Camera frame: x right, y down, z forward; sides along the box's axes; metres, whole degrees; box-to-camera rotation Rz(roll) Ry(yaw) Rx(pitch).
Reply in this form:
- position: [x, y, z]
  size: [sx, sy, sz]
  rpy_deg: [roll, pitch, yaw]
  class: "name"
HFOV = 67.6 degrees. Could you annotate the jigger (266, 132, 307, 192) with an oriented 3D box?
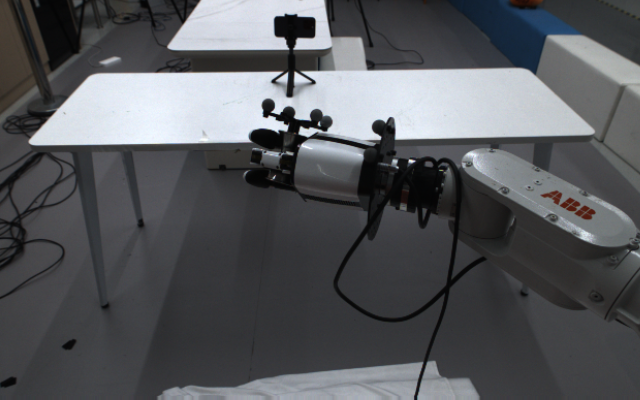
- position: [-0.045, -0.057, 0.653]
  size: [0.043, 0.071, 0.043]
  rpy_deg: [13, 1, 0]
  class: "jigger"
